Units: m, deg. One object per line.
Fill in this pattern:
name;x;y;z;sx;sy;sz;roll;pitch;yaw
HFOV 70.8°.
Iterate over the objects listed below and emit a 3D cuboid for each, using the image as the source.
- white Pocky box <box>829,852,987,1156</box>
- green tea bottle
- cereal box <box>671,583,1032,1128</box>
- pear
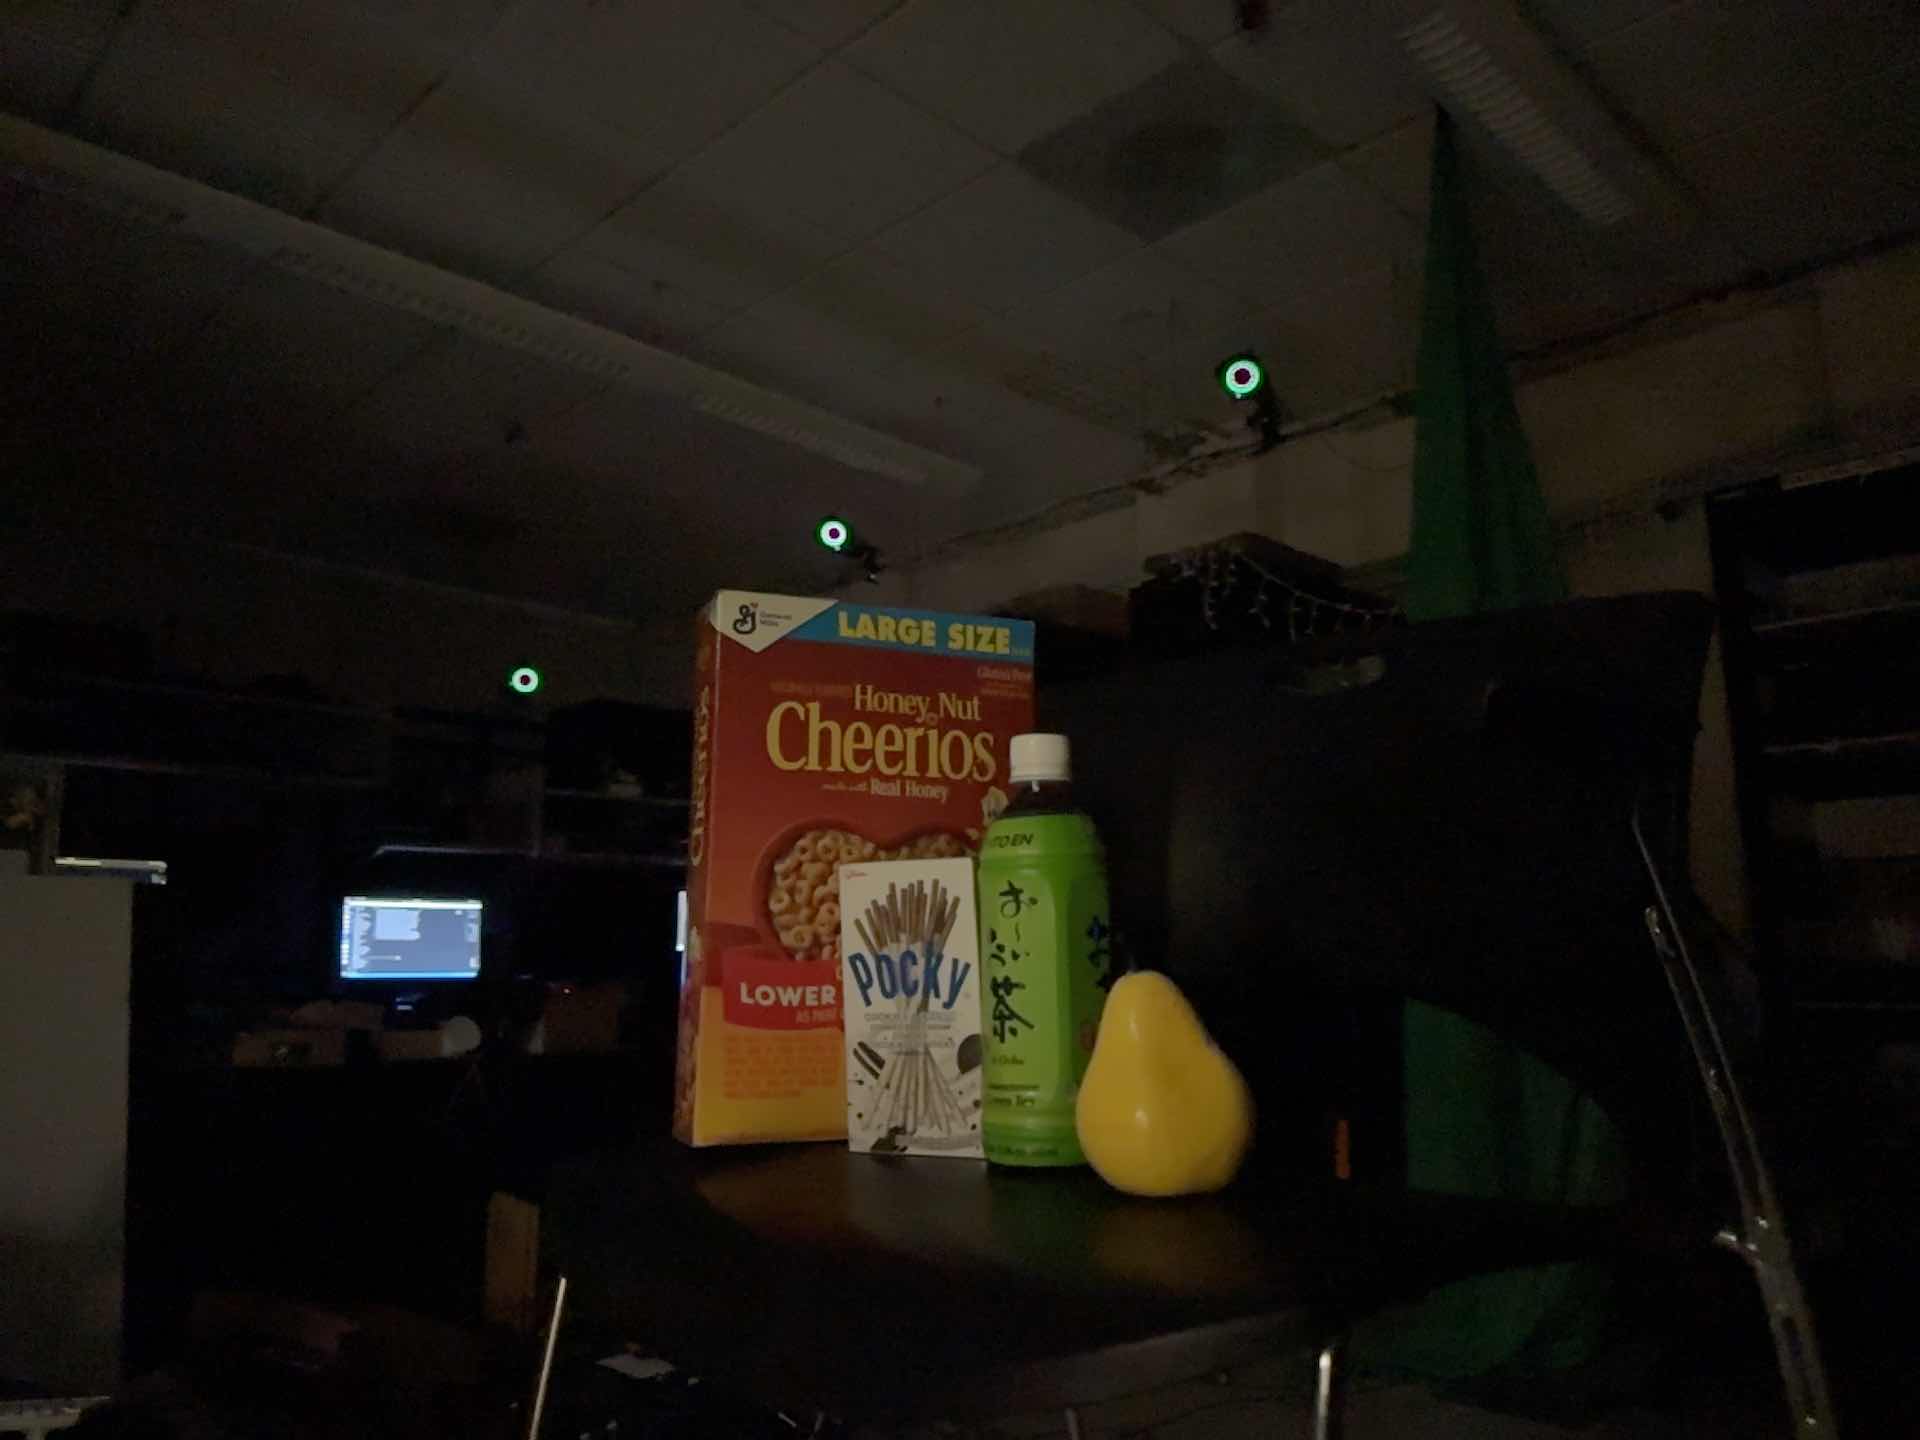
white Pocky box;-0.025;0.149;0.720;0.084;0.154;0.028;-5;-4;26
green tea bottle;0.042;0.112;0.685;0.073;0.212;0.073;-3;-10;-1
cereal box;-0.062;0.079;0.810;0.195;0.297;0.065;5;-9;-23
pear;0.090;0.152;0.603;0.080;0.111;0.080;1;-13;0
